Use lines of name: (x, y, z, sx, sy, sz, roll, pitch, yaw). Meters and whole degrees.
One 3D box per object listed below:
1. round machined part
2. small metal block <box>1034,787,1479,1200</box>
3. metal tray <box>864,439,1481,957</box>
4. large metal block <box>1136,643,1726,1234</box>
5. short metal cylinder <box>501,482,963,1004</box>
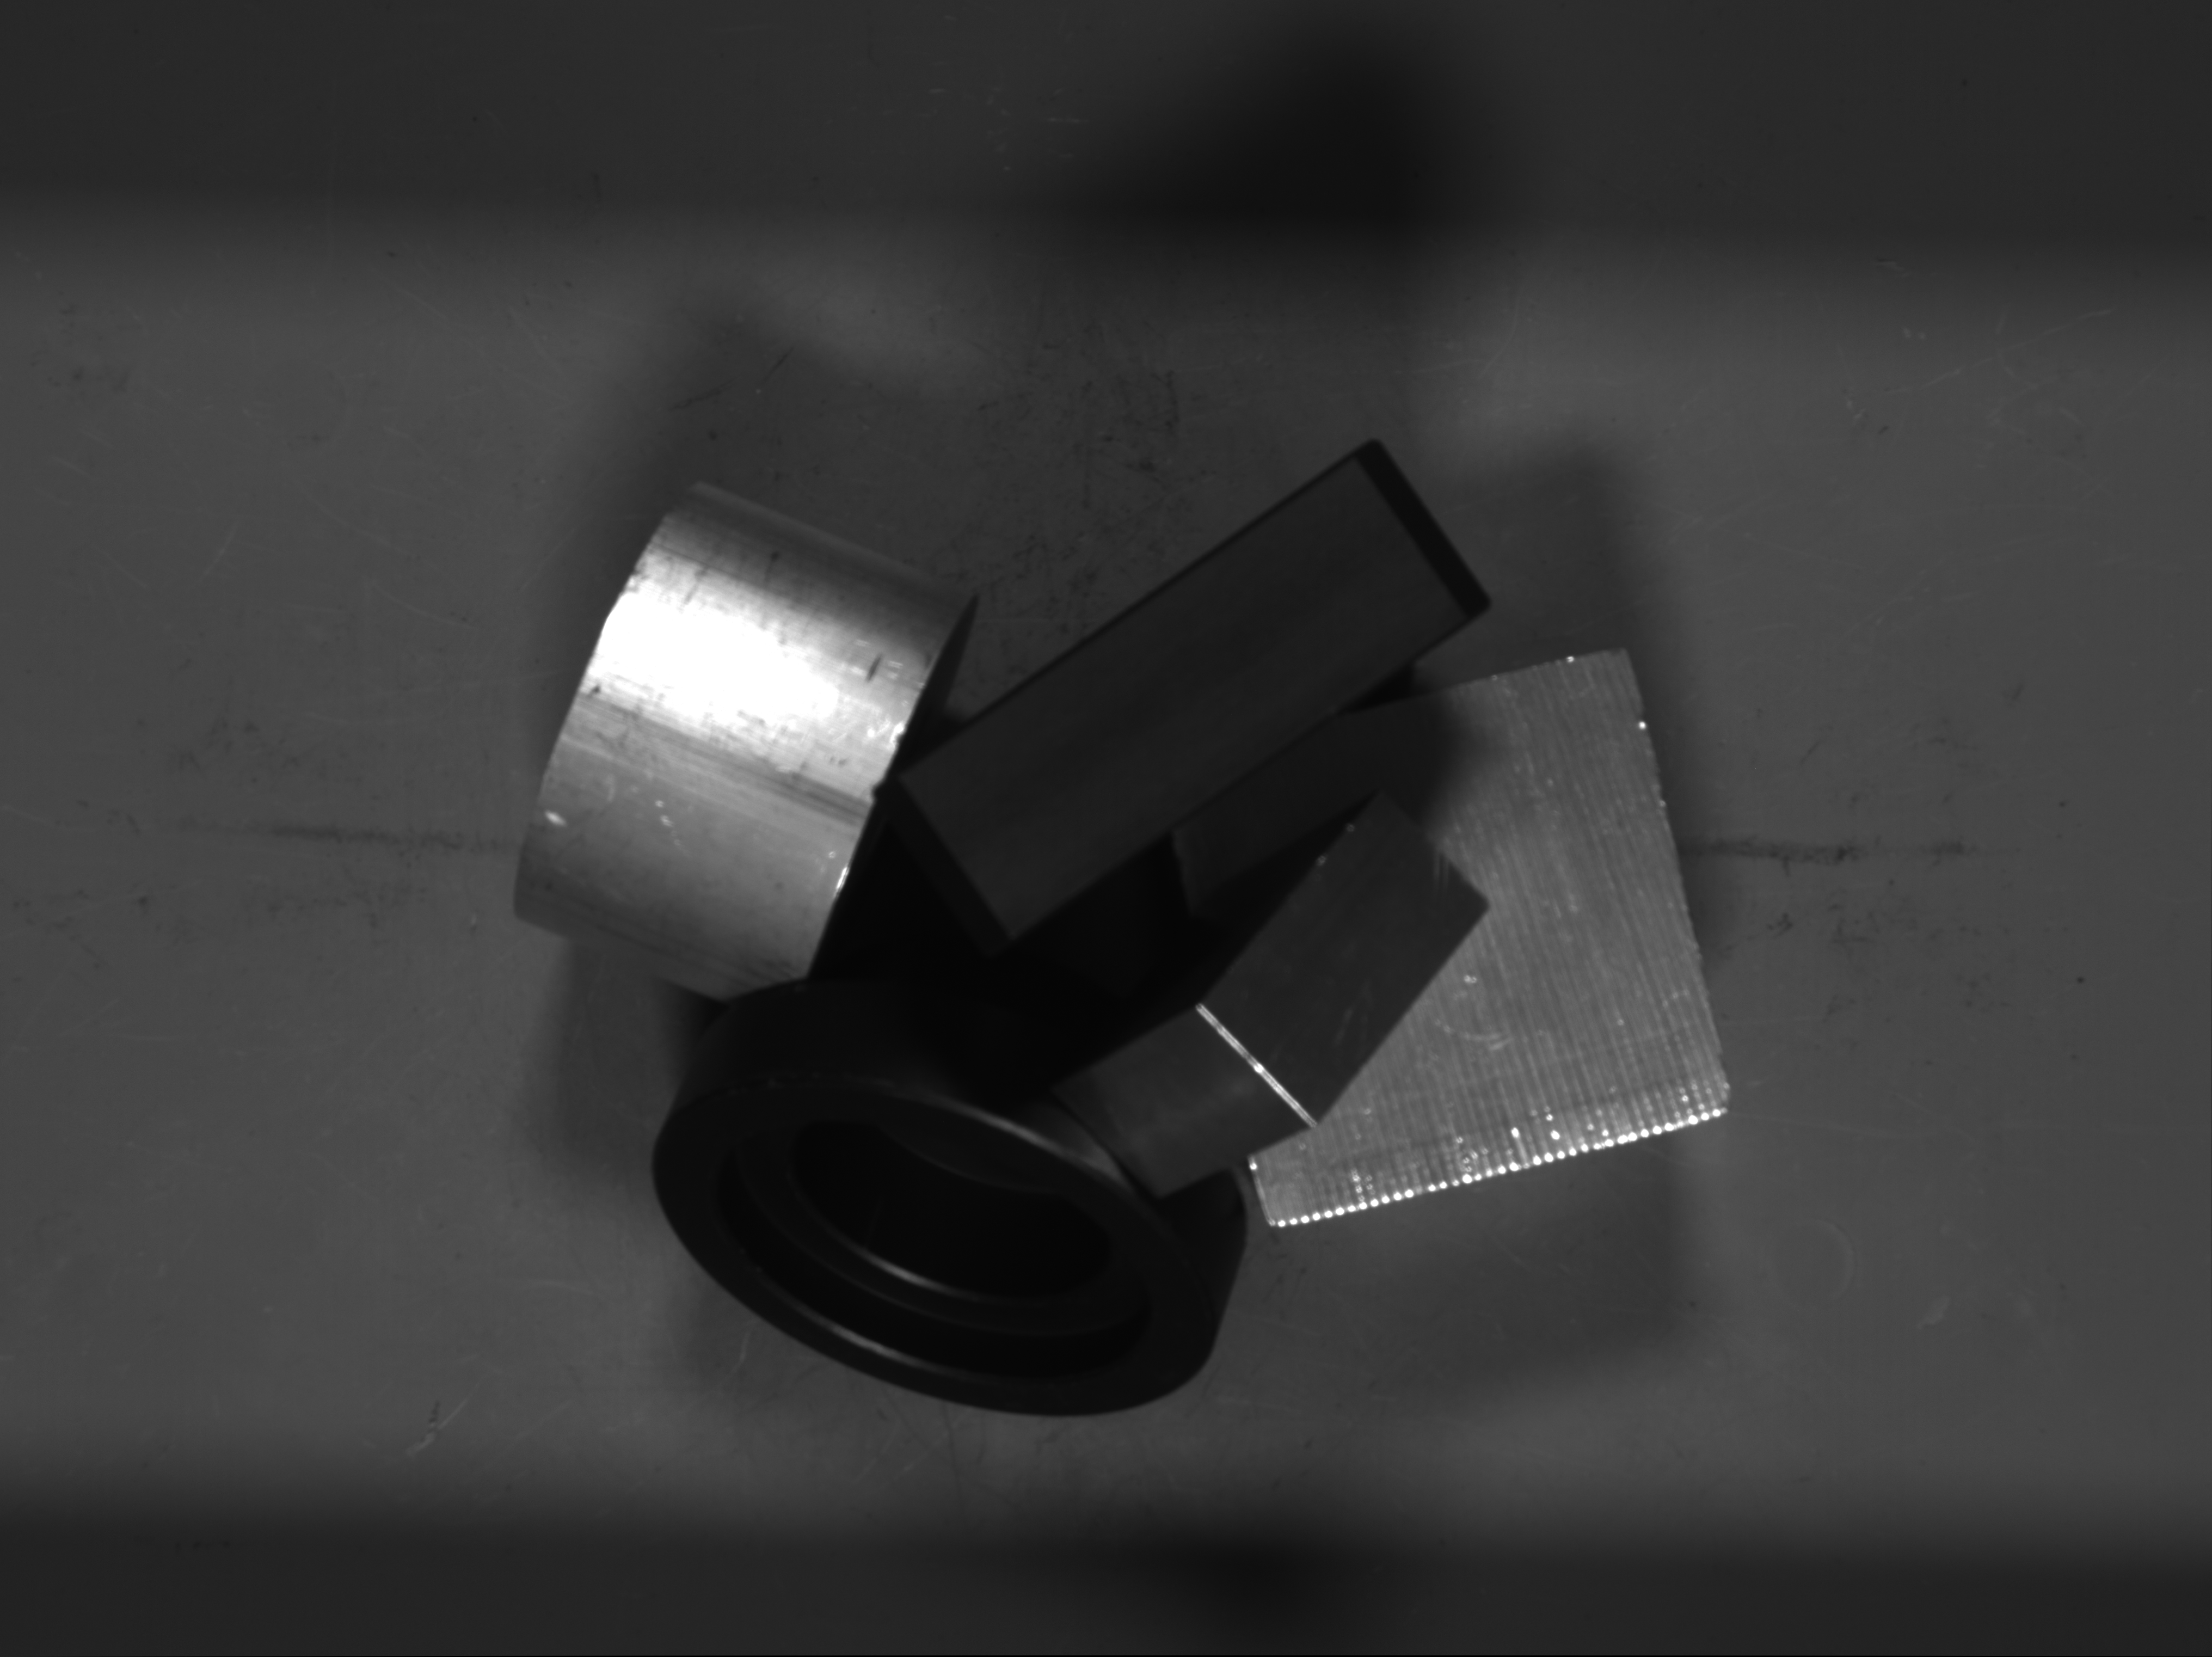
round machined part: (-0.025, 0.055, 0.617, 0.098, 0.098, 0.042, 21, 54, 0)
small metal block: (0.023, 0.026, 0.563, 0.025, 0.050, 0.050, 46, 58, -7)
metal tray: (0.009, -0.020, 0.591, 0.090, 0.130, 0.030, -35, 91, -1)
large metal block: (0.053, 0.016, 0.625, 0.080, 0.050, 0.080, -14, 95, 0)
short metal cylinder: (-0.062, -0.012, 0.616, 0.050, 0.080, 0.080, 22, 90, 0)
